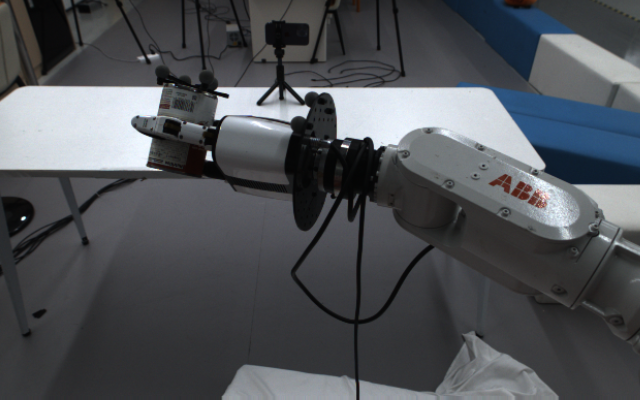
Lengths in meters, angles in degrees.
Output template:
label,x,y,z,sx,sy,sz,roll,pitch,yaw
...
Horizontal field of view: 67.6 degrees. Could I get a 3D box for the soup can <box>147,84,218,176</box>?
label,x,y,z,sx,sy,sz,roll,pitch,yaw
soup can,-0.168,-0.082,0.593,0.067,0.101,0.067,13,0,0
